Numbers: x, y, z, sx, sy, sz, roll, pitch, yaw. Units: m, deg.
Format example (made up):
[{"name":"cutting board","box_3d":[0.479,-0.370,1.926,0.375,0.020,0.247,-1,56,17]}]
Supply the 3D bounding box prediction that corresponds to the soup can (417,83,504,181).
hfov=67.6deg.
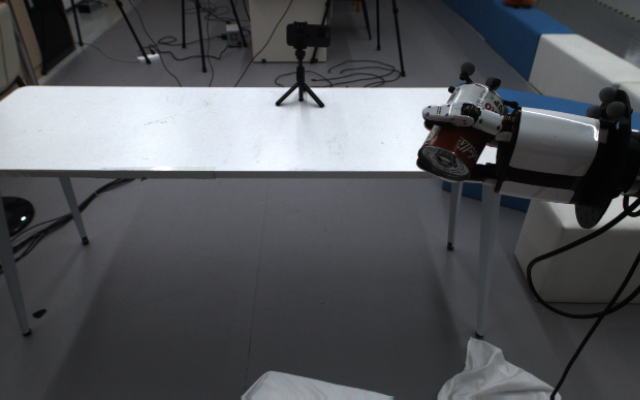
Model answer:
[{"name":"soup can","box_3d":[0.175,-0.084,0.589,0.067,0.067,0.101,23,72,27]}]
